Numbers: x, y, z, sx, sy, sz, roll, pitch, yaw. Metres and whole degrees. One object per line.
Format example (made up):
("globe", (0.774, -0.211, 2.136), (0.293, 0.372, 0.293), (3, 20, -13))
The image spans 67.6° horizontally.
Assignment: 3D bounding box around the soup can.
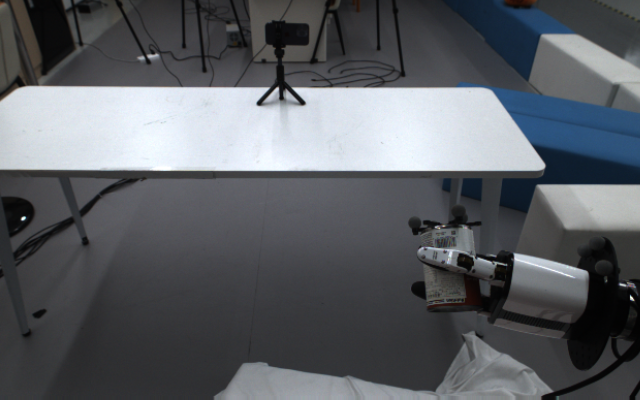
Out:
("soup can", (0.165, 0.085, 0.612), (0.067, 0.067, 0.101), (0, 72, -4))
